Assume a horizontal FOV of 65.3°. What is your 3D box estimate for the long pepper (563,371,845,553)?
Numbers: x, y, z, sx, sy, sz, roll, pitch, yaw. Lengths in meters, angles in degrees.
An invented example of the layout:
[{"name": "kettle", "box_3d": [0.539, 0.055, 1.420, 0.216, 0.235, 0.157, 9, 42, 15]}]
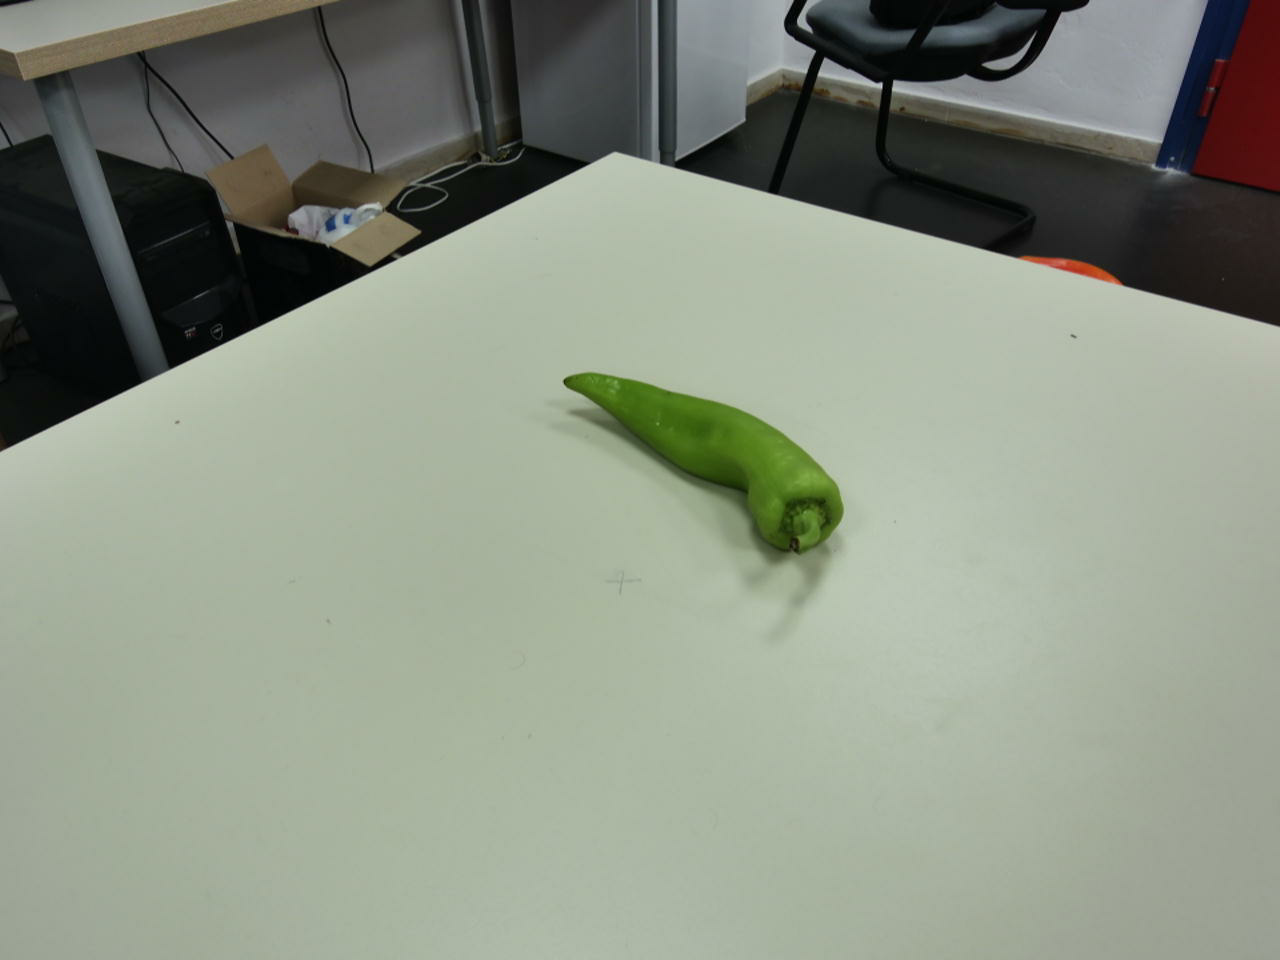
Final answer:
[{"name": "long pepper", "box_3d": [0.038, -0.020, 0.553, 0.065, 0.045, 0.204, -23, 43, -28]}]
